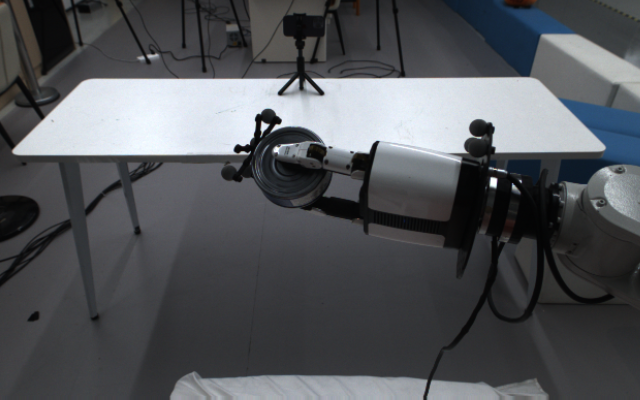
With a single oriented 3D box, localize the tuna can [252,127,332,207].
[{"bbox_3d":[-0.027,-0.037,0.532,0.085,0.034,0.085,-1,73,4],"label":"tuna can"}]
